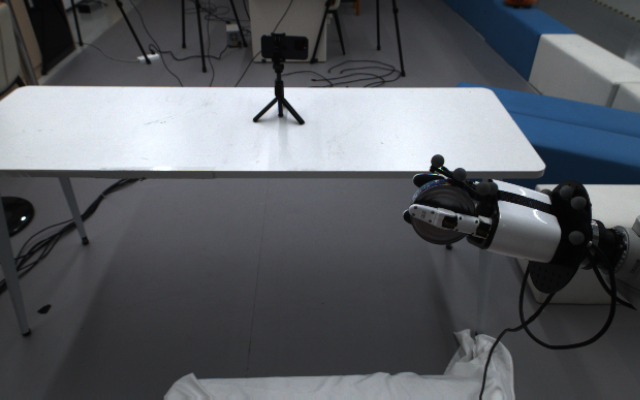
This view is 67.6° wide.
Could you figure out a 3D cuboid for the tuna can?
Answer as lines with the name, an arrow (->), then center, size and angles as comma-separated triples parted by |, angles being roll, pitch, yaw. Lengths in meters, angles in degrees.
tuna can -> 0.169, 0.013, 0.661 | 0.085, 0.085, 0.034 | 7, 17, 7
